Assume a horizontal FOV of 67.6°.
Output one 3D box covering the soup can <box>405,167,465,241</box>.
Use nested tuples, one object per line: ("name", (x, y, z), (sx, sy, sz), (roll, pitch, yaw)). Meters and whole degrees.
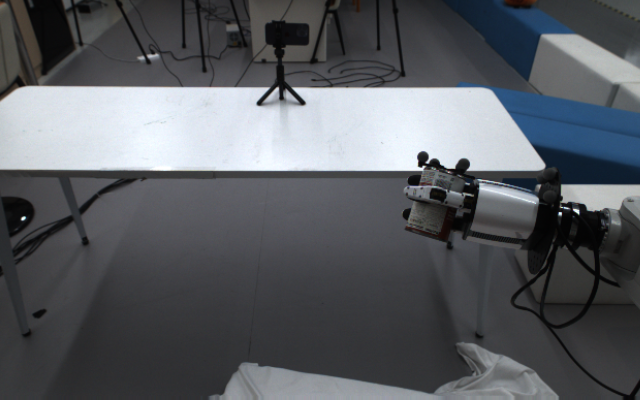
("soup can", (0.177, 0.006, 0.741), (0.067, 0.101, 0.067), (18, -2, 1))
